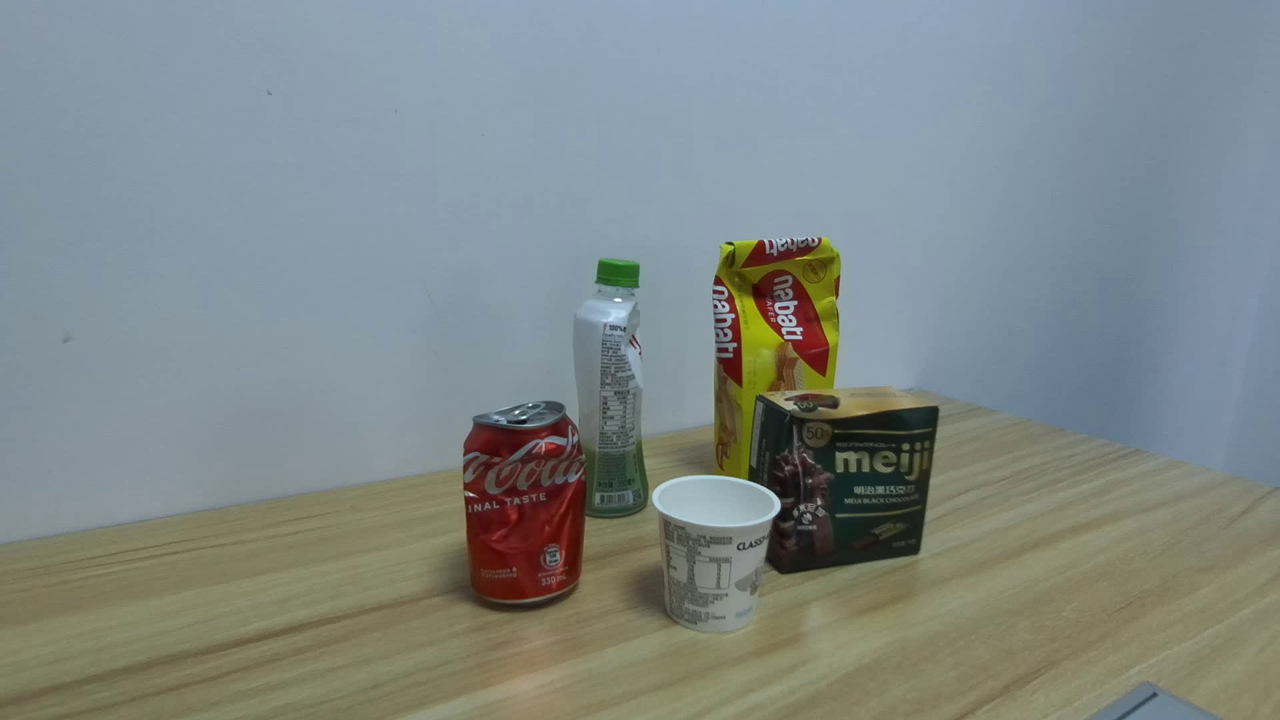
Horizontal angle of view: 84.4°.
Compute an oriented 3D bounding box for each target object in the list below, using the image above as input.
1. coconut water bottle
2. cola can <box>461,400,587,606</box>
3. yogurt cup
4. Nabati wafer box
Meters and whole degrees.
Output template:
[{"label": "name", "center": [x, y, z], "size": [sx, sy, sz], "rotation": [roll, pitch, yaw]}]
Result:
[{"label": "coconut water bottle", "center": [-0.022, 0.019, 0.530], "size": [0.069, 0.187, 0.069], "rotation": [2, 11, 0]}, {"label": "cola can", "center": [-0.066, 0.083, 0.418], "size": [0.069, 0.112, 0.065], "rotation": [-1, 12, -10]}, {"label": "yogurt cup", "center": [0.041, 0.110, 0.402], "size": [0.072, 0.068, 0.072], "rotation": [1, 13, 0]}, {"label": "Nabati wafer box", "center": [0.112, 0.005, 0.581], "size": [0.114, 0.205, 0.042], "rotation": [-6, 13, -28]}]
